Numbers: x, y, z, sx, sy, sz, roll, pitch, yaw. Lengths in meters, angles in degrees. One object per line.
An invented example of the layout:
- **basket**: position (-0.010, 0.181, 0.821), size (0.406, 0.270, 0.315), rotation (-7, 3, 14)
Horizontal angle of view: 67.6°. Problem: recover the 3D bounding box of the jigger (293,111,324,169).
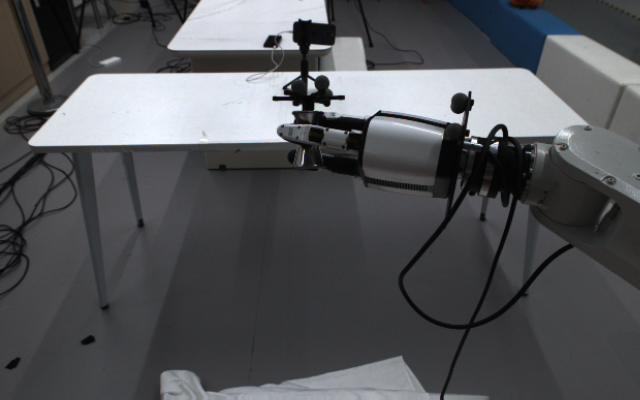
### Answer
- **jigger**: position (-0.014, -0.074, 0.599), size (0.043, 0.071, 0.043), rotation (-1, 2, 0)
